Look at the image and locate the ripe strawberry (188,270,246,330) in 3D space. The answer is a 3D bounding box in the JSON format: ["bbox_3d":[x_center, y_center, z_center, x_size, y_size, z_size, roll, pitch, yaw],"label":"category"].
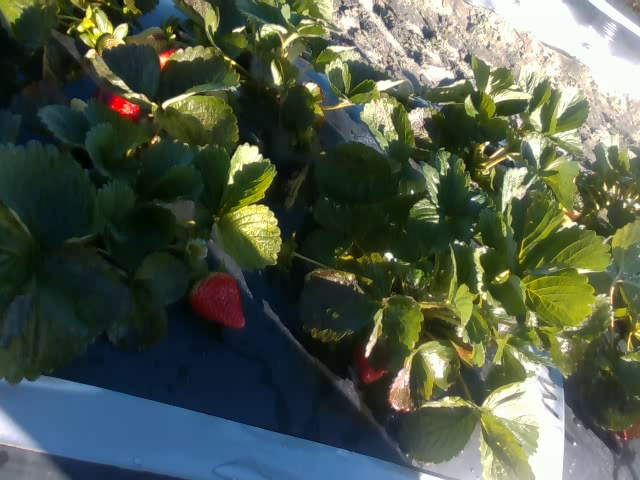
[{"bbox_3d":[-0.076,0.049,0.483,0.045,0.059,0.042,-34,-4,-10],"label":"ripe strawberry"}]
